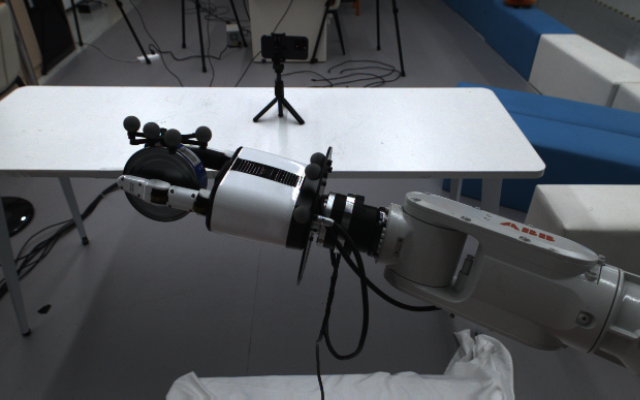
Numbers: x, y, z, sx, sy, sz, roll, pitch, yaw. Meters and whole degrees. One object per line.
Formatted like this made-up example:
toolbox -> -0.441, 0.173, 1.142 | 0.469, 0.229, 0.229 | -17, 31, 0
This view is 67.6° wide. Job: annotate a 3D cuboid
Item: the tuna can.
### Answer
tuna can -> -0.170, -0.021, 0.538 | 0.085, 0.085, 0.034 | 5, 18, 5
